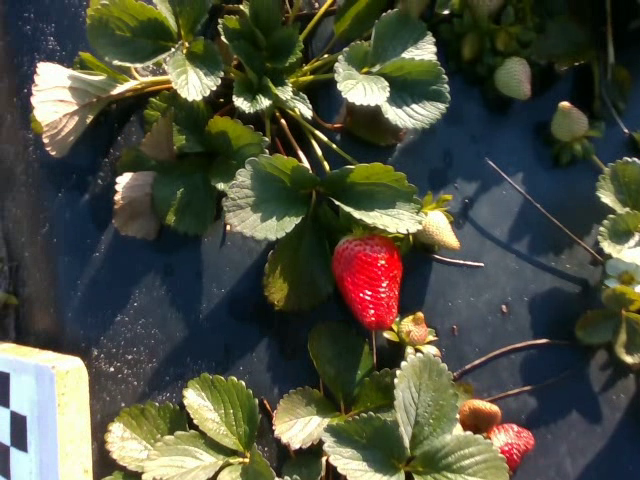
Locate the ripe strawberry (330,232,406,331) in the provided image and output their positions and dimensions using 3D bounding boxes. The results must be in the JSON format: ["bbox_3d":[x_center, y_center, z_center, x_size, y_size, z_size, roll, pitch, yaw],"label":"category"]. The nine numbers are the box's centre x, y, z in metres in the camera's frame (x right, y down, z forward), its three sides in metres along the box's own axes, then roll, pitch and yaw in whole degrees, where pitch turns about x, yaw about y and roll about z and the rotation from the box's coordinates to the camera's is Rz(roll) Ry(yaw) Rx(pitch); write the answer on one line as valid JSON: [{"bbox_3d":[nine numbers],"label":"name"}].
[{"bbox_3d":[0.032,0.028,0.313,0.055,0.072,0.056,8,-32,-43],"label":"ripe strawberry"}]
